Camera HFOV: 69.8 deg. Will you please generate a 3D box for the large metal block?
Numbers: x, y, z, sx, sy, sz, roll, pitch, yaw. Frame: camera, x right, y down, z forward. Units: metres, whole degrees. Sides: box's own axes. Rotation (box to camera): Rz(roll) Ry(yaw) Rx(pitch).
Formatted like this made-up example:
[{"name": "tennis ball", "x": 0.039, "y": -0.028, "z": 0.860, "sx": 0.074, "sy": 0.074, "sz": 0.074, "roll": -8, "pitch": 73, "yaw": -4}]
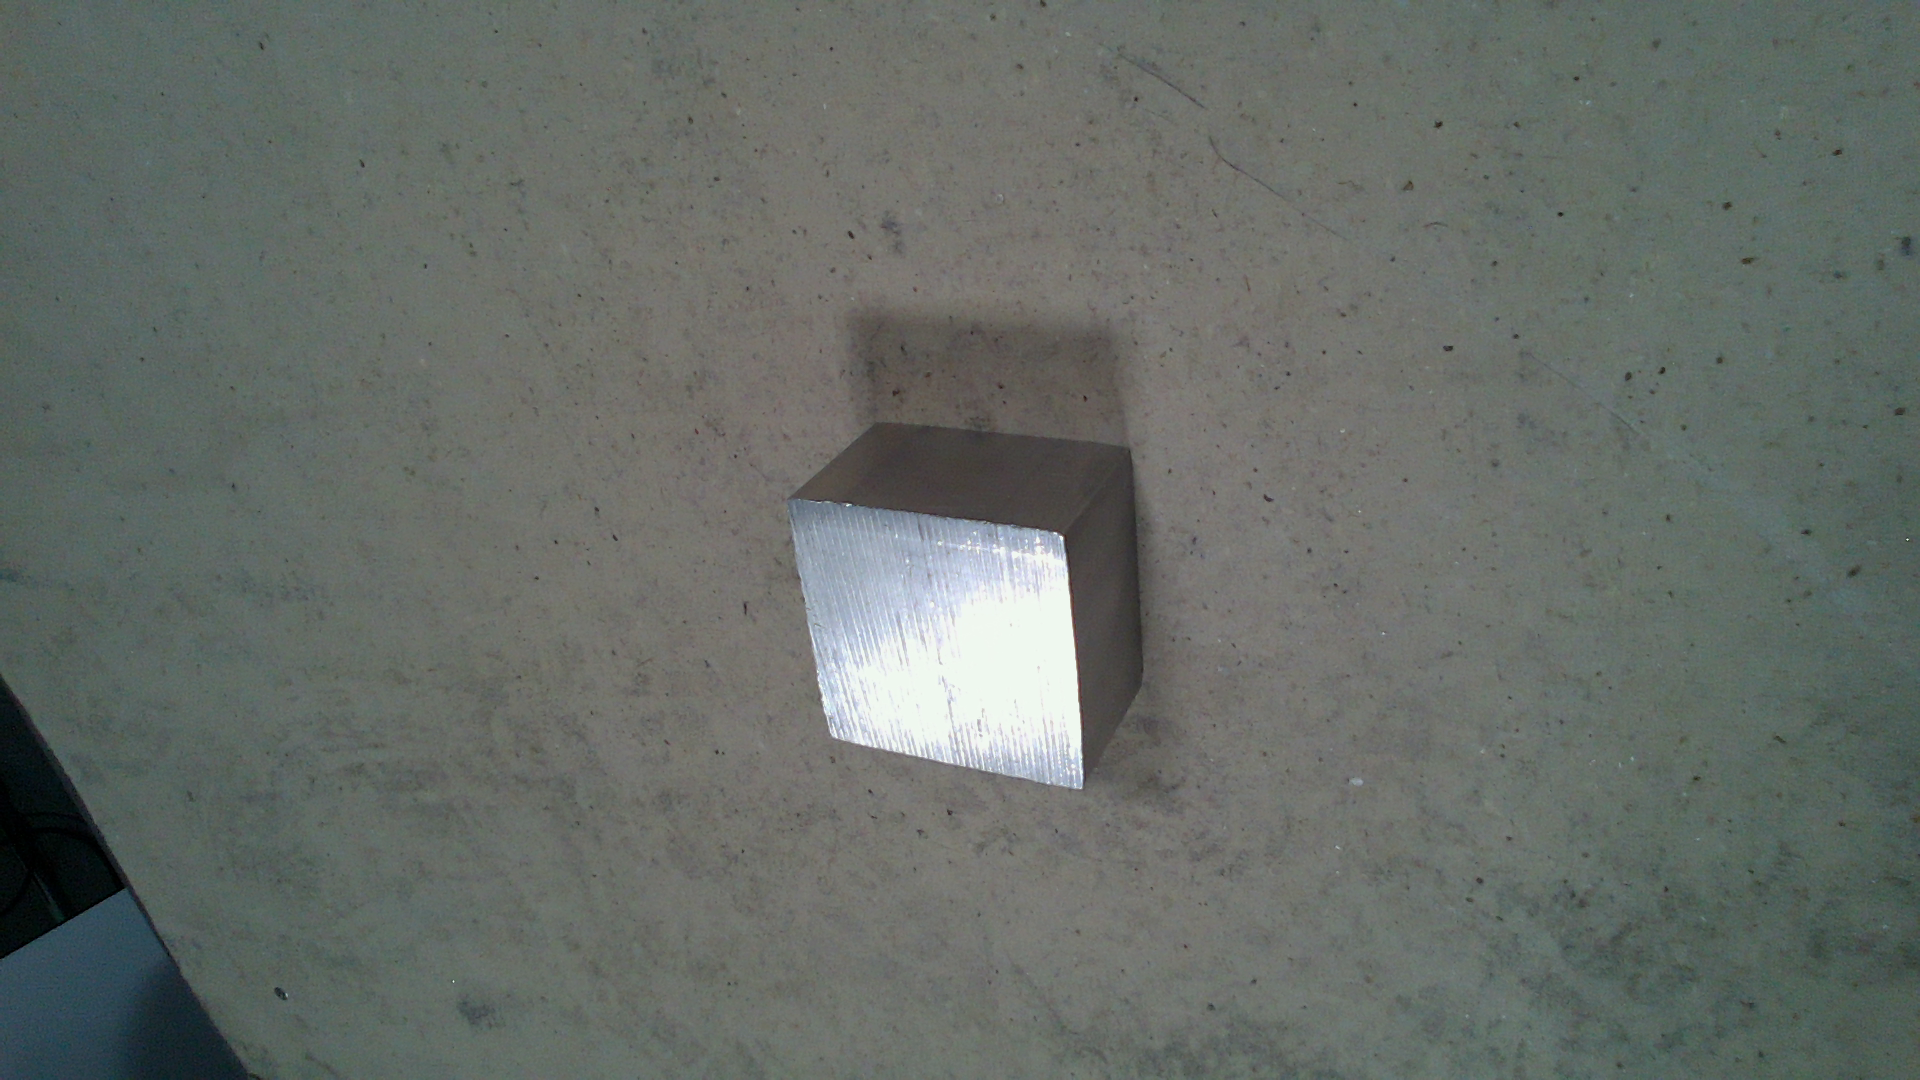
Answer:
[{"name": "large metal block", "x": 0.004, "y": 0.016, "z": 0.385, "sx": 0.080, "sy": 0.050, "sz": 0.080, "roll": 7, "pitch": 122, "yaw": 24}]
